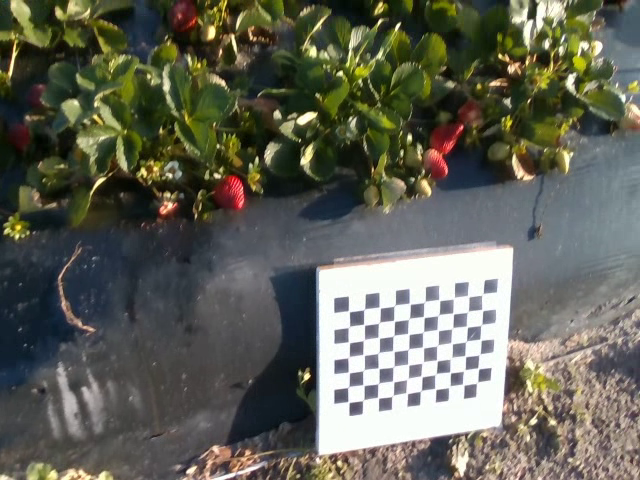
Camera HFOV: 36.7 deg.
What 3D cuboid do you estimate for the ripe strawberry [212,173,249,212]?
[{"bbox_3d":[-0.117,-0.058,1.242,0.052,0.052,0.041,-35,-33,-9],"label":"ripe strawberry"}]
